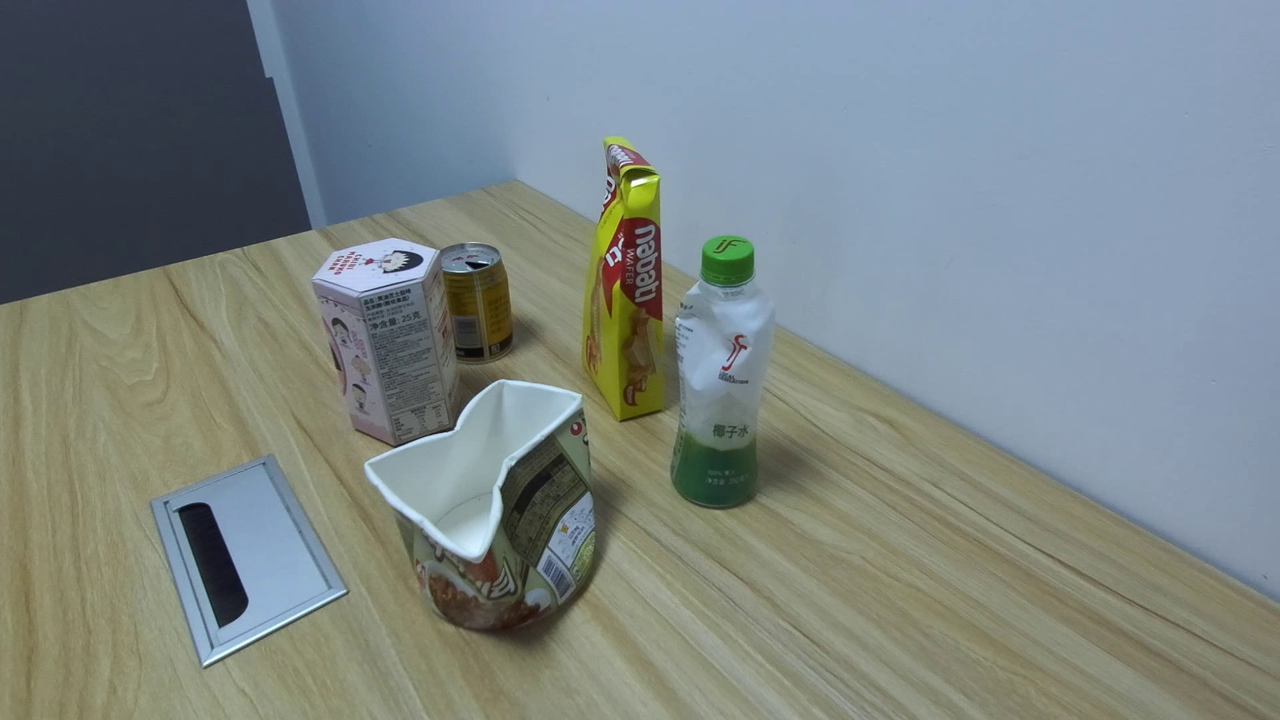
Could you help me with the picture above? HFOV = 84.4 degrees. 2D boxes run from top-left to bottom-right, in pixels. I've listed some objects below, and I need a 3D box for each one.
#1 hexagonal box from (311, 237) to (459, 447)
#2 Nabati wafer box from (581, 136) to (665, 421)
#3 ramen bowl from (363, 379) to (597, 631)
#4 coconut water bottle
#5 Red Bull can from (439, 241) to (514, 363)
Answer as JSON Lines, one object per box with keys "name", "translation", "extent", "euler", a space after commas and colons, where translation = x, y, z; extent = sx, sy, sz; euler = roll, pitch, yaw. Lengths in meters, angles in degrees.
{"name": "hexagonal box", "translation": [-0.190, -0.013, 0.543], "extent": [0.084, 0.136, 0.091], "euler": [0, 34, -2]}
{"name": "Nabati wafer box", "translation": [-0.012, -0.060, 0.553], "extent": [0.043, 0.205, 0.113], "euler": [-10, 34, -18]}
{"name": "ramen bowl", "translation": [-0.081, 0.087, 0.434], "extent": [0.111, 0.093, 0.128], "euler": [25, 42, 30]}
{"name": "coconut water bottle", "translation": [0.054, 0.010, 0.463], "extent": [0.069, 0.187, 0.069], "euler": [1, 35, 0]}
{"name": "Red Bull can", "translation": [-0.153, -0.052, 0.644], "extent": [0.068, 0.093, 0.068], "euler": [1, 33, 0]}
